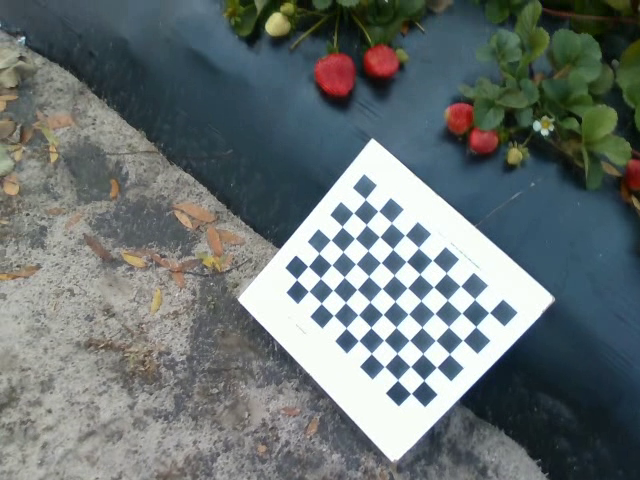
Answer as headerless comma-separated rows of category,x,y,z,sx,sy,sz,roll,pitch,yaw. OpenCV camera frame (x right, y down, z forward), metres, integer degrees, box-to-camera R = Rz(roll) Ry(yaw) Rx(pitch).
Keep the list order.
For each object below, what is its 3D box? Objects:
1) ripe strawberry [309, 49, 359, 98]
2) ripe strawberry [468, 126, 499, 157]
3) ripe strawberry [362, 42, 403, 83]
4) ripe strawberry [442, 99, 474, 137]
ripe strawberry,0.023,-0.207,0.828,0.058,0.065,0.043,-20,-22,22
ripe strawberry,0.204,-0.118,0.787,0.043,0.041,0.049,38,40,14
ripe strawberry,0.086,-0.225,0.835,0.050,0.051,0.060,-26,34,22
ripe strawberry,0.179,-0.149,0.806,0.053,0.047,0.039,15,13,-15
